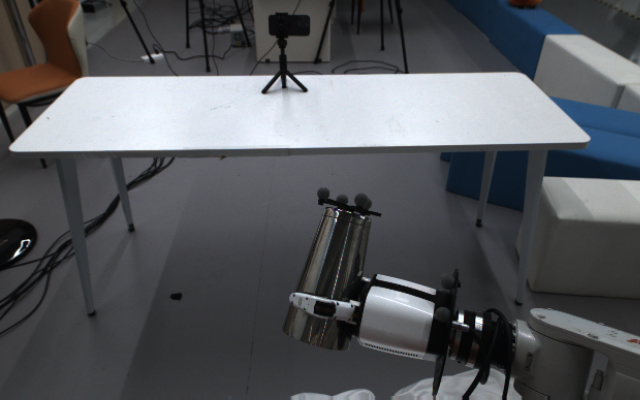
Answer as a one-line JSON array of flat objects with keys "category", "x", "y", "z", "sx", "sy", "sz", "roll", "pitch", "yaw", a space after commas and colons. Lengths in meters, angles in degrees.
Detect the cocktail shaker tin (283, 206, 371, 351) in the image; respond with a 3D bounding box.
[{"category": "cocktail shaker tin", "x": 0.017, "y": 0.100, "z": 0.644, "sx": 0.093, "sy": 0.170, "sz": 0.093, "roll": 15, "pitch": -4, "yaw": 1}]
